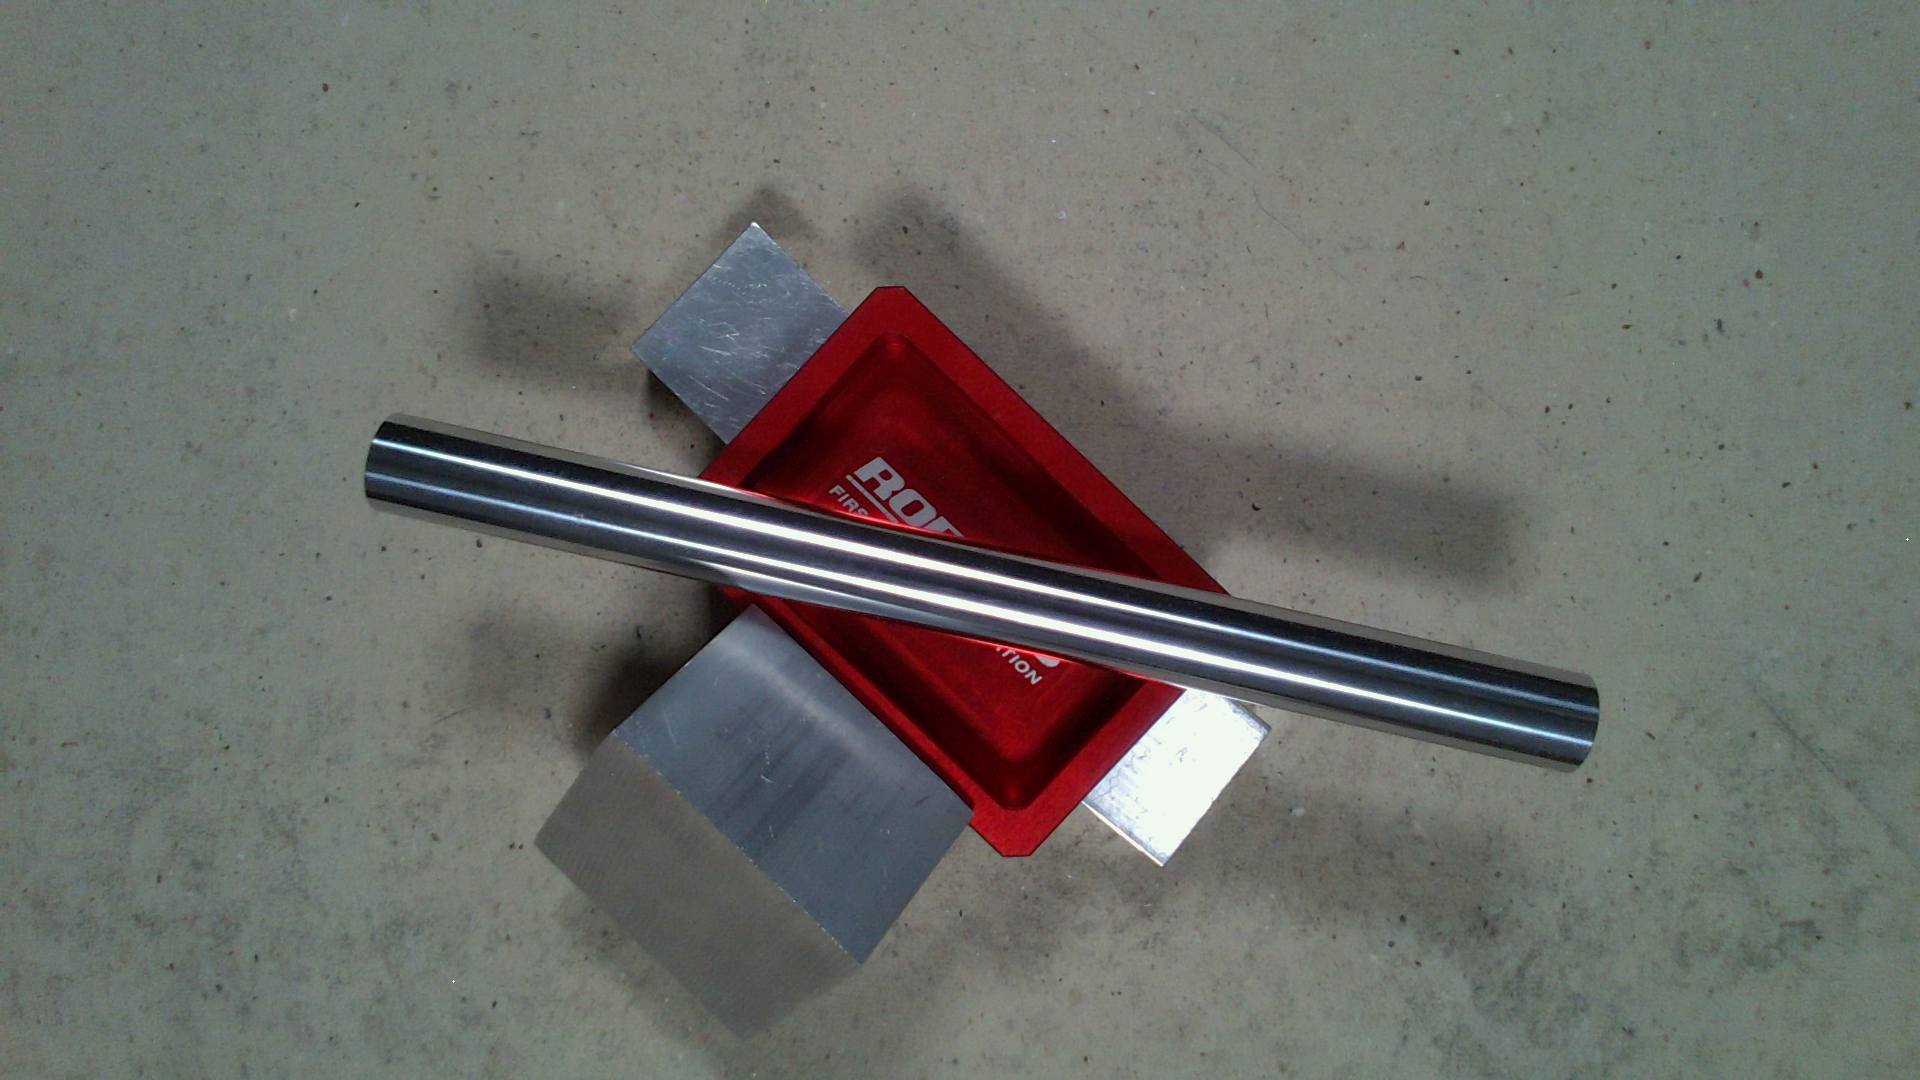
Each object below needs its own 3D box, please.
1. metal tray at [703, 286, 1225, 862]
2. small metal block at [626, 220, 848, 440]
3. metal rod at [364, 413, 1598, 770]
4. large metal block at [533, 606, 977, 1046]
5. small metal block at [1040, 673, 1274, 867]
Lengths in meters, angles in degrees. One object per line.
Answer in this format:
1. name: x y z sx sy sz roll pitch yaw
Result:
1. metal tray: -0.002 0.009 0.367 0.130 0.030 0.090 44 90 0
2. small metal block: -0.057 -0.054 0.395 0.050 0.025 0.050 45 90 0
3. metal rod: 0.005 0.013 0.340 0.300 0.025 0.025 12 90 0
4. large metal block: -0.056 0.077 0.360 0.080 0.080 0.050 43 49 0
5. small metal block: 0.052 0.056 0.396 0.050 0.025 0.050 38 90 0
